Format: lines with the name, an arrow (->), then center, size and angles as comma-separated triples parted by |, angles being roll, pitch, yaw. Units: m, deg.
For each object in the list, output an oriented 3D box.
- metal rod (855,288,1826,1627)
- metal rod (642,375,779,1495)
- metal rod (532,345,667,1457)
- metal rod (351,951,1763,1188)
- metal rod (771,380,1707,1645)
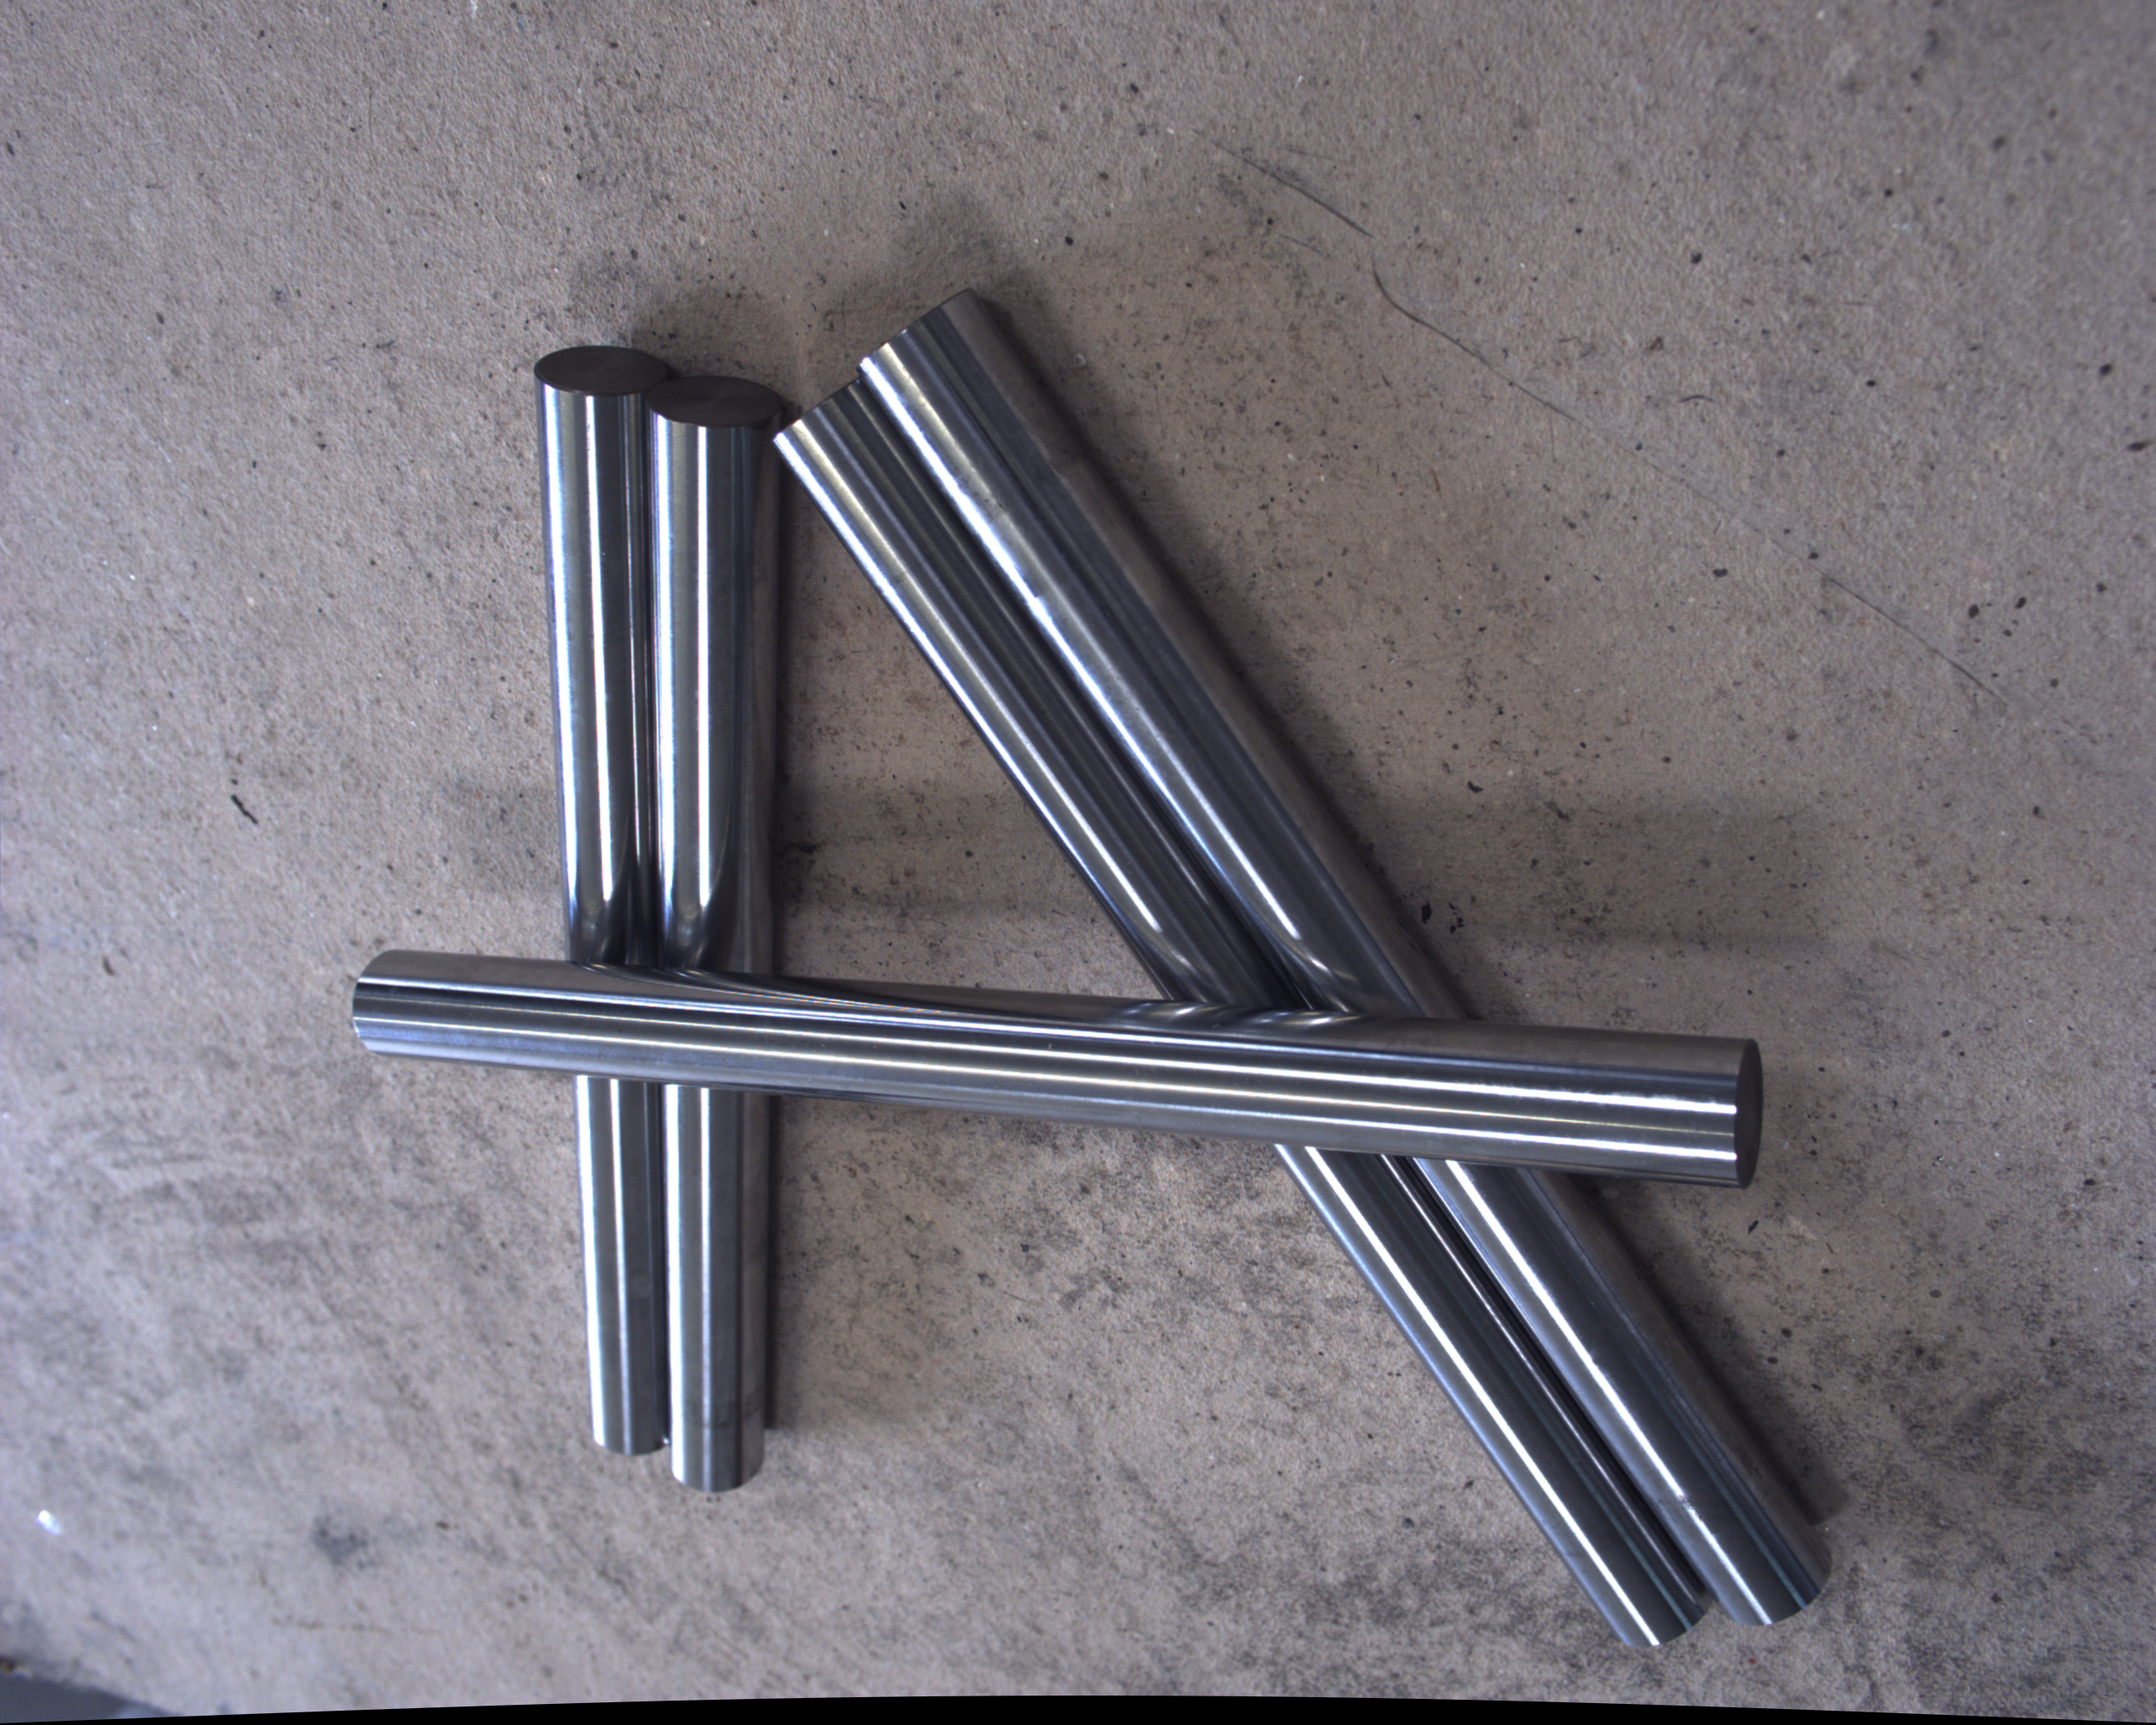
metal rod -> 0.056, 0.026, 0.395 | 0.025, 0.025, 0.299 | -27, 104, 37
metal rod -> -0.083, 0.036, 0.474 | 0.025, 0.025, 0.298 | 19, 126, 17
metal rod -> -0.105, 0.028, 0.481 | 0.025, 0.025, 0.298 | 19, 126, 17
metal rod -> -0.023, 0.037, 0.411 | 0.300, 0.025, 0.025 | 2, 119, 27
metal rod -> 0.039, 0.035, 0.410 | 0.025, 0.025, 0.299 | -27, 104, 37
